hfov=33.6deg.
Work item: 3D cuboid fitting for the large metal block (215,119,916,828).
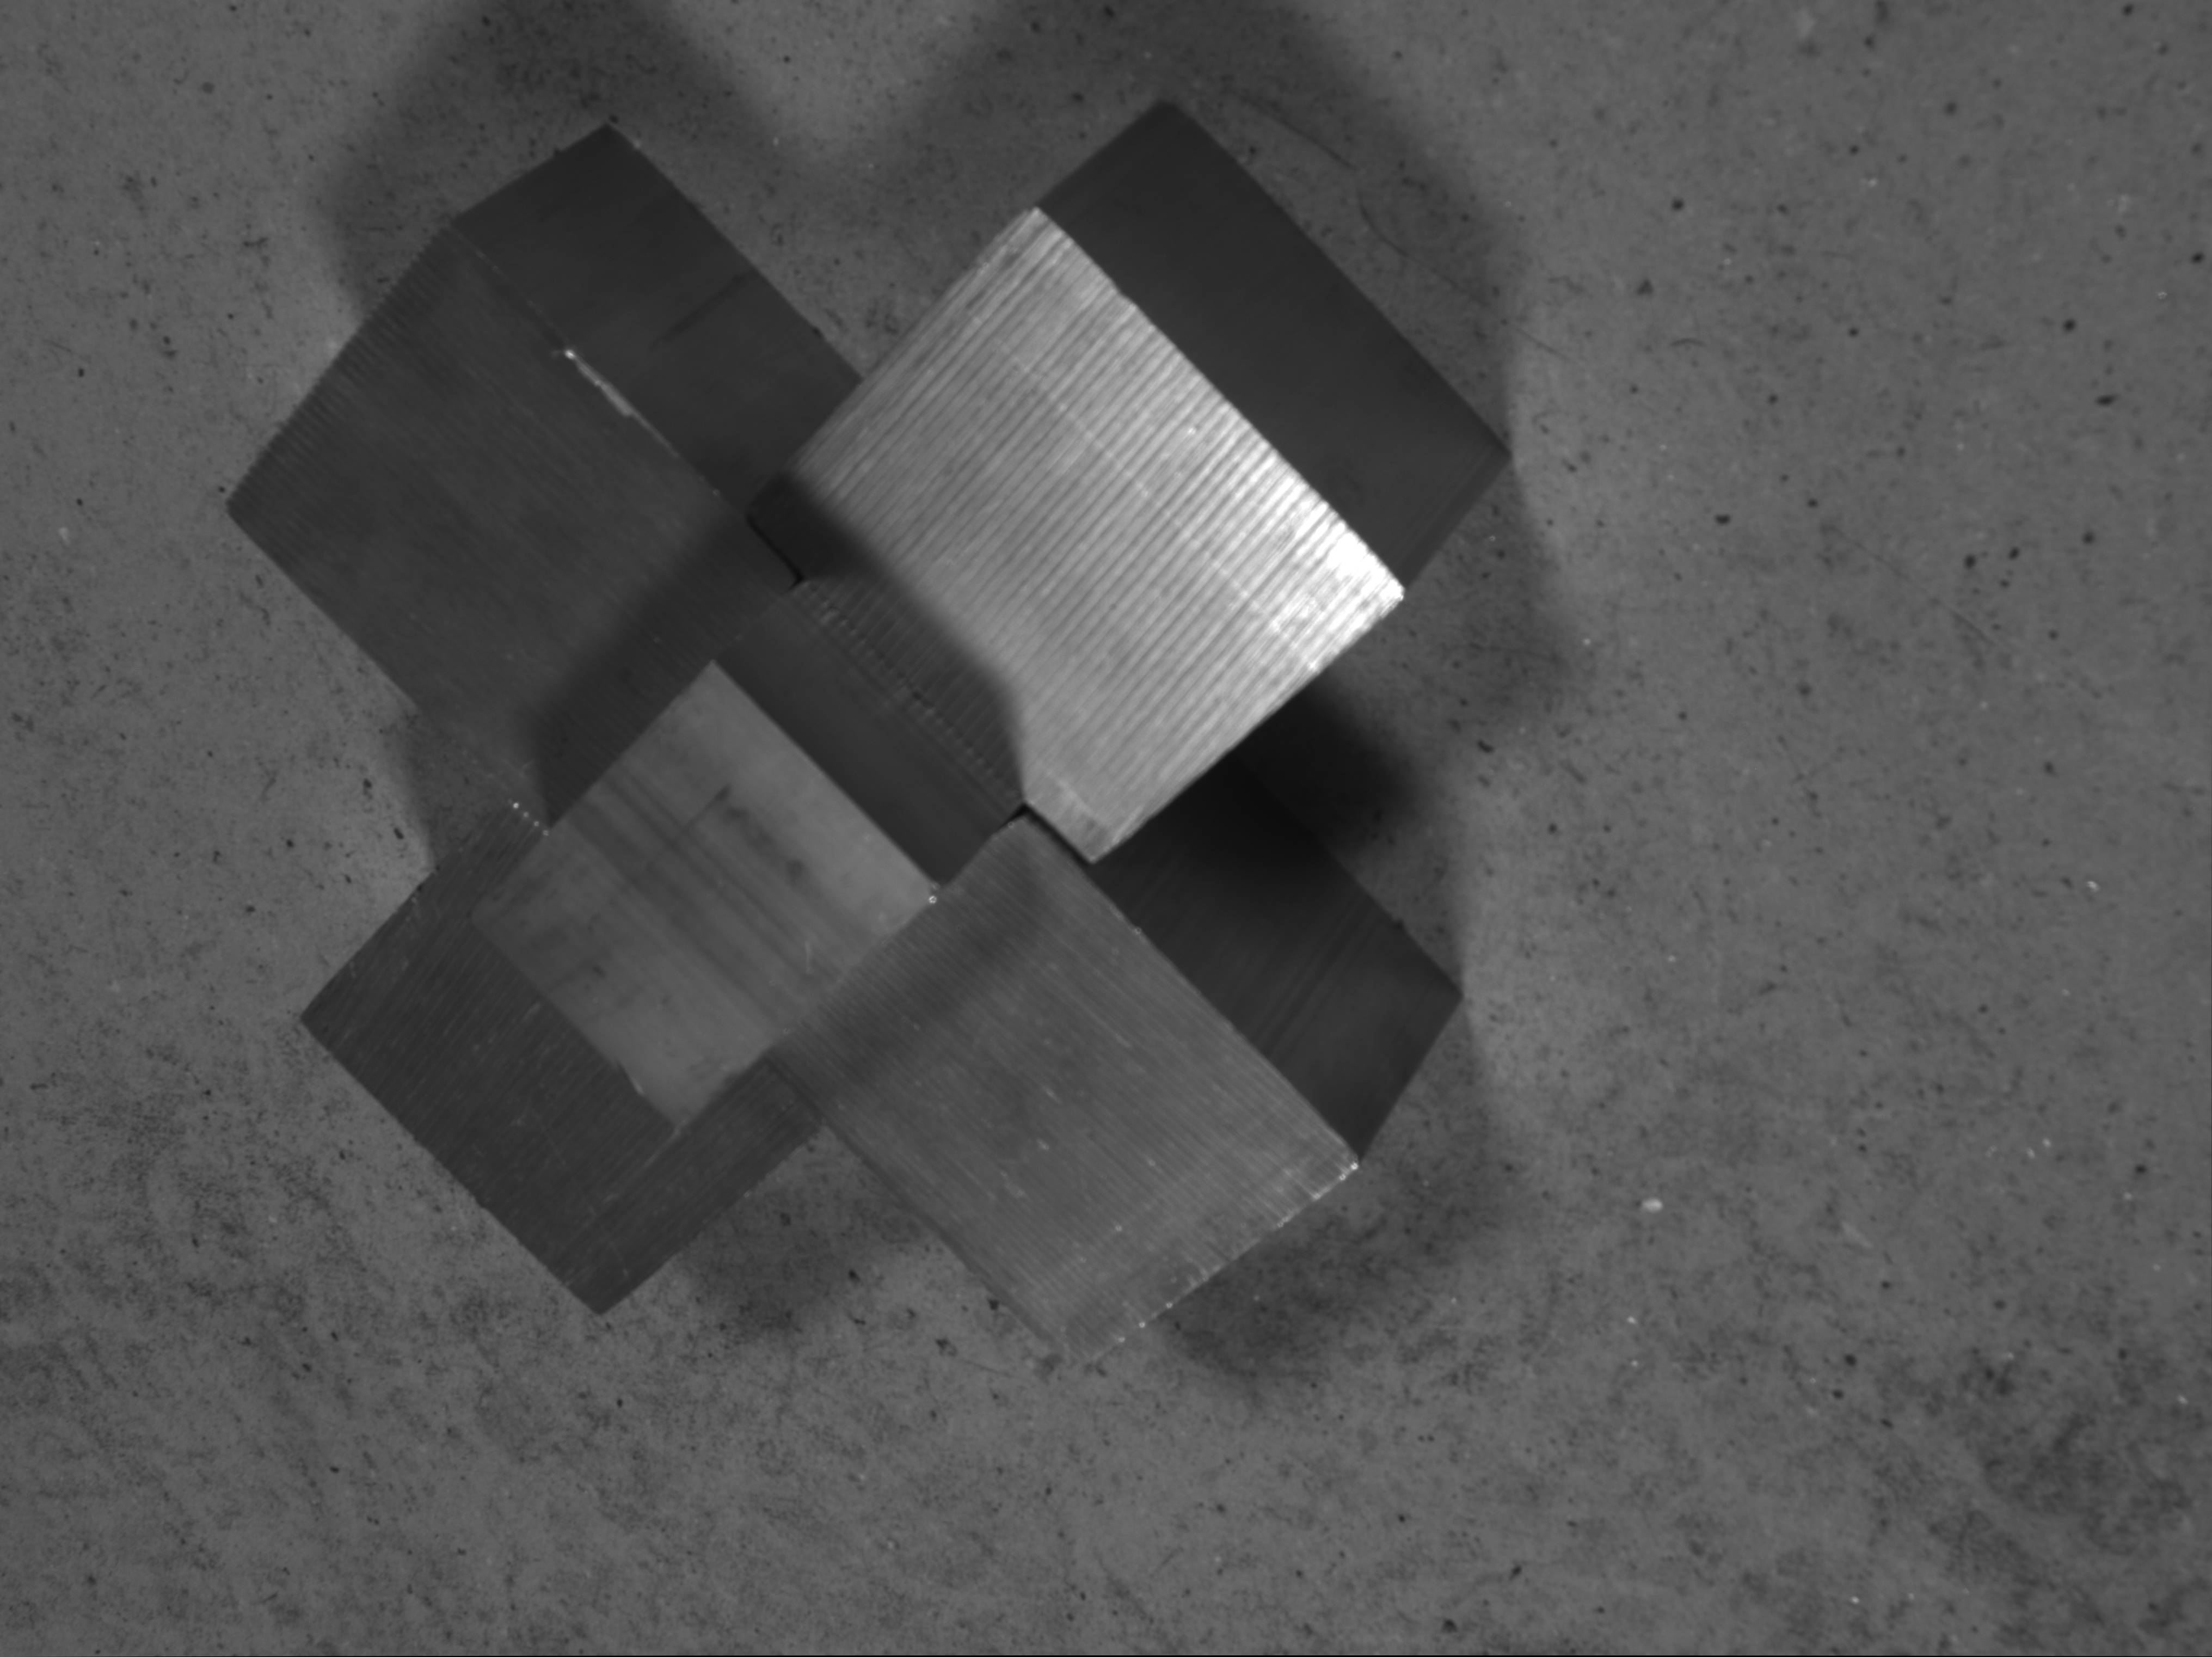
[{"bbox_3d":[-0.091,-0.058,0.625,0.080,0.050,0.080,45,128,-4],"label":"large metal block"}]

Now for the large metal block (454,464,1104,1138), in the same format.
[{"bbox_3d":[-0.051,-0.006,0.618,0.050,0.080,0.080,45,128,-4],"label":"large metal block"}]

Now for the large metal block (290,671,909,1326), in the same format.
[{"bbox_3d":[-0.090,0.032,0.679,0.080,0.050,0.080,45,128,-4],"label":"large metal block"}]

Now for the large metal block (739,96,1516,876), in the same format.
[{"bbox_3d":[0.003,-0.053,0.581,0.080,0.050,0.080,45,128,-4],"label":"large metal block"}]

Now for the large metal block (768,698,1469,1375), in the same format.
[{"bbox_3d":[0.001,0.035,0.635,0.080,0.050,0.080,45,128,-4],"label":"large metal block"}]
